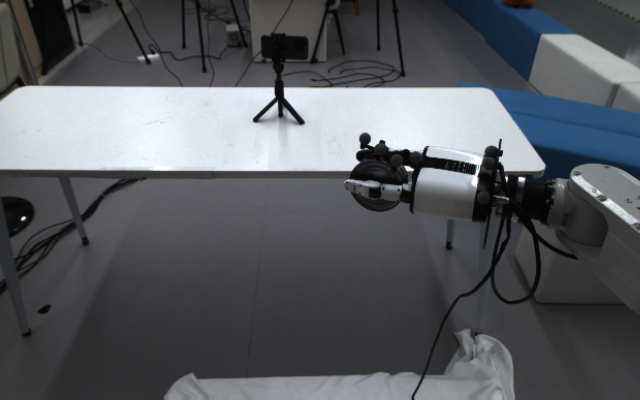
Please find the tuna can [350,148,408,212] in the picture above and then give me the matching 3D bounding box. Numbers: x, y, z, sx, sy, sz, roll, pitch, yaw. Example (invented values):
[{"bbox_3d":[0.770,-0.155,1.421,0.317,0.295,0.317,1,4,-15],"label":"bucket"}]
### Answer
[{"bbox_3d":[0.092,-0.029,0.737,0.085,0.085,0.034,16,28,19],"label":"tuna can"}]
